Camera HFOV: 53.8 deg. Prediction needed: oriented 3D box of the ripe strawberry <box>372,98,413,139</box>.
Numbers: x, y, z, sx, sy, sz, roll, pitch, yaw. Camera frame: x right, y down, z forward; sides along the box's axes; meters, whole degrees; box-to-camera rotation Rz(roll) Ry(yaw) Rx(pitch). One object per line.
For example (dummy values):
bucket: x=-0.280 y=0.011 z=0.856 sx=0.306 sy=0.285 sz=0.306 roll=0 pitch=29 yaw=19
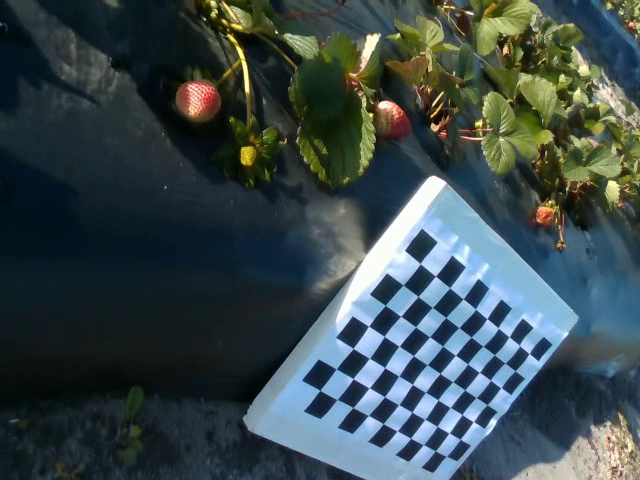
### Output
ripe strawberry: x=0.076 y=-0.121 z=0.638 sx=0.064 sy=0.044 sz=0.043 roll=15 pitch=15 yaw=-38
